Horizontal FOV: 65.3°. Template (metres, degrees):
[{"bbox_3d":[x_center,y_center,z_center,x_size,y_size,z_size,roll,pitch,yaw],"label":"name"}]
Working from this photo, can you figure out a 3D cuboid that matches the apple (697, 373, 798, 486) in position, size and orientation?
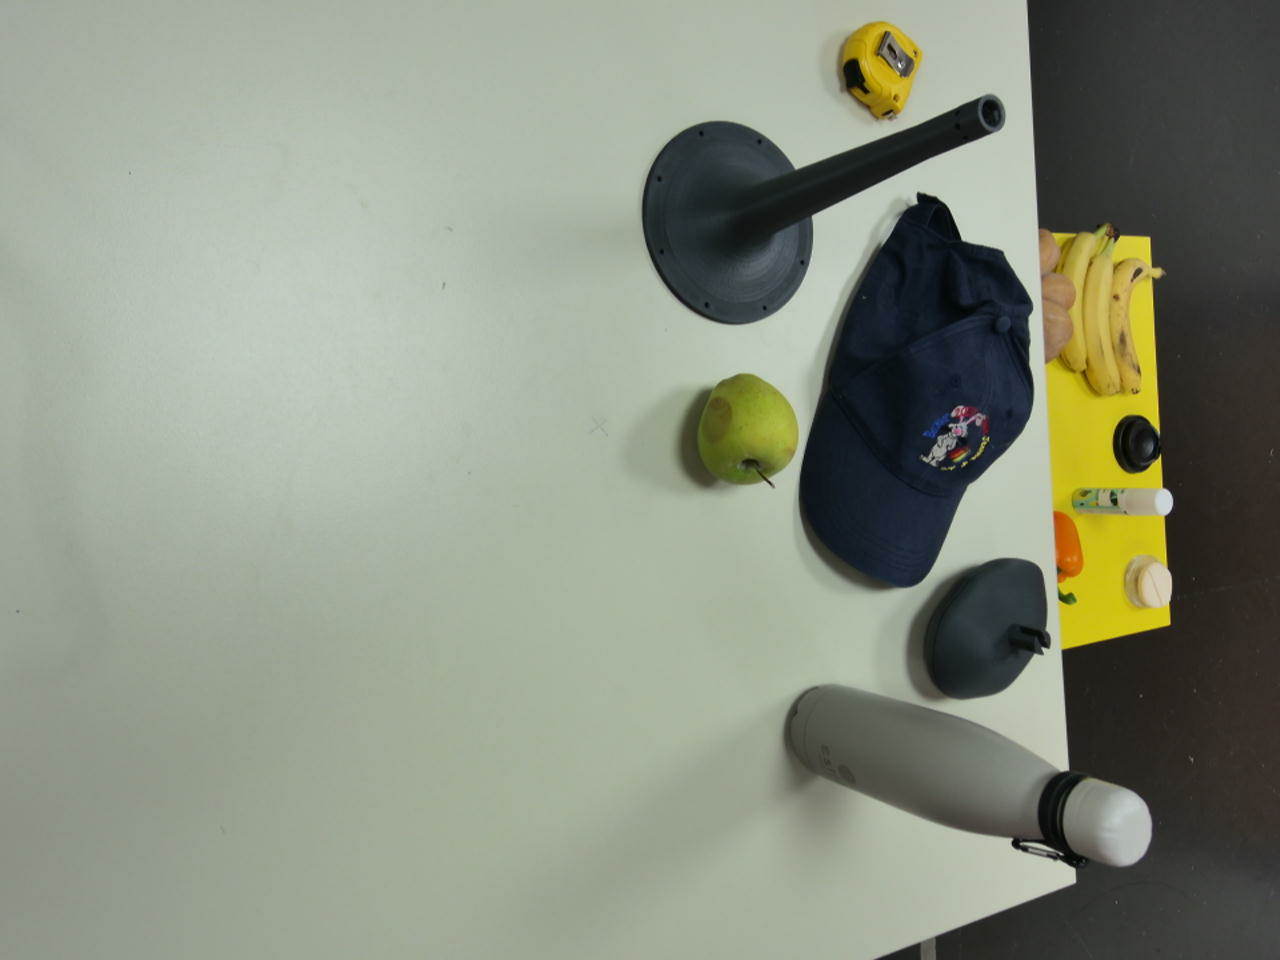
[{"bbox_3d":[0.078,-0.035,0.712,0.072,0.075,0.077,44,71,-21],"label":"apple"}]
